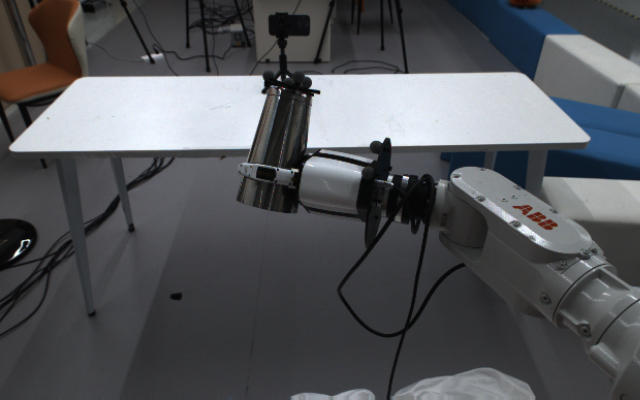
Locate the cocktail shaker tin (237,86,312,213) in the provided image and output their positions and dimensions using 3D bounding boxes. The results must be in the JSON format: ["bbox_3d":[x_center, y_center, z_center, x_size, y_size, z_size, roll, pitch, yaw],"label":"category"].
[{"bbox_3d":[-0.061,-0.073,0.712,0.093,0.170,0.093,12,4,-1],"label":"cocktail shaker tin"}]
